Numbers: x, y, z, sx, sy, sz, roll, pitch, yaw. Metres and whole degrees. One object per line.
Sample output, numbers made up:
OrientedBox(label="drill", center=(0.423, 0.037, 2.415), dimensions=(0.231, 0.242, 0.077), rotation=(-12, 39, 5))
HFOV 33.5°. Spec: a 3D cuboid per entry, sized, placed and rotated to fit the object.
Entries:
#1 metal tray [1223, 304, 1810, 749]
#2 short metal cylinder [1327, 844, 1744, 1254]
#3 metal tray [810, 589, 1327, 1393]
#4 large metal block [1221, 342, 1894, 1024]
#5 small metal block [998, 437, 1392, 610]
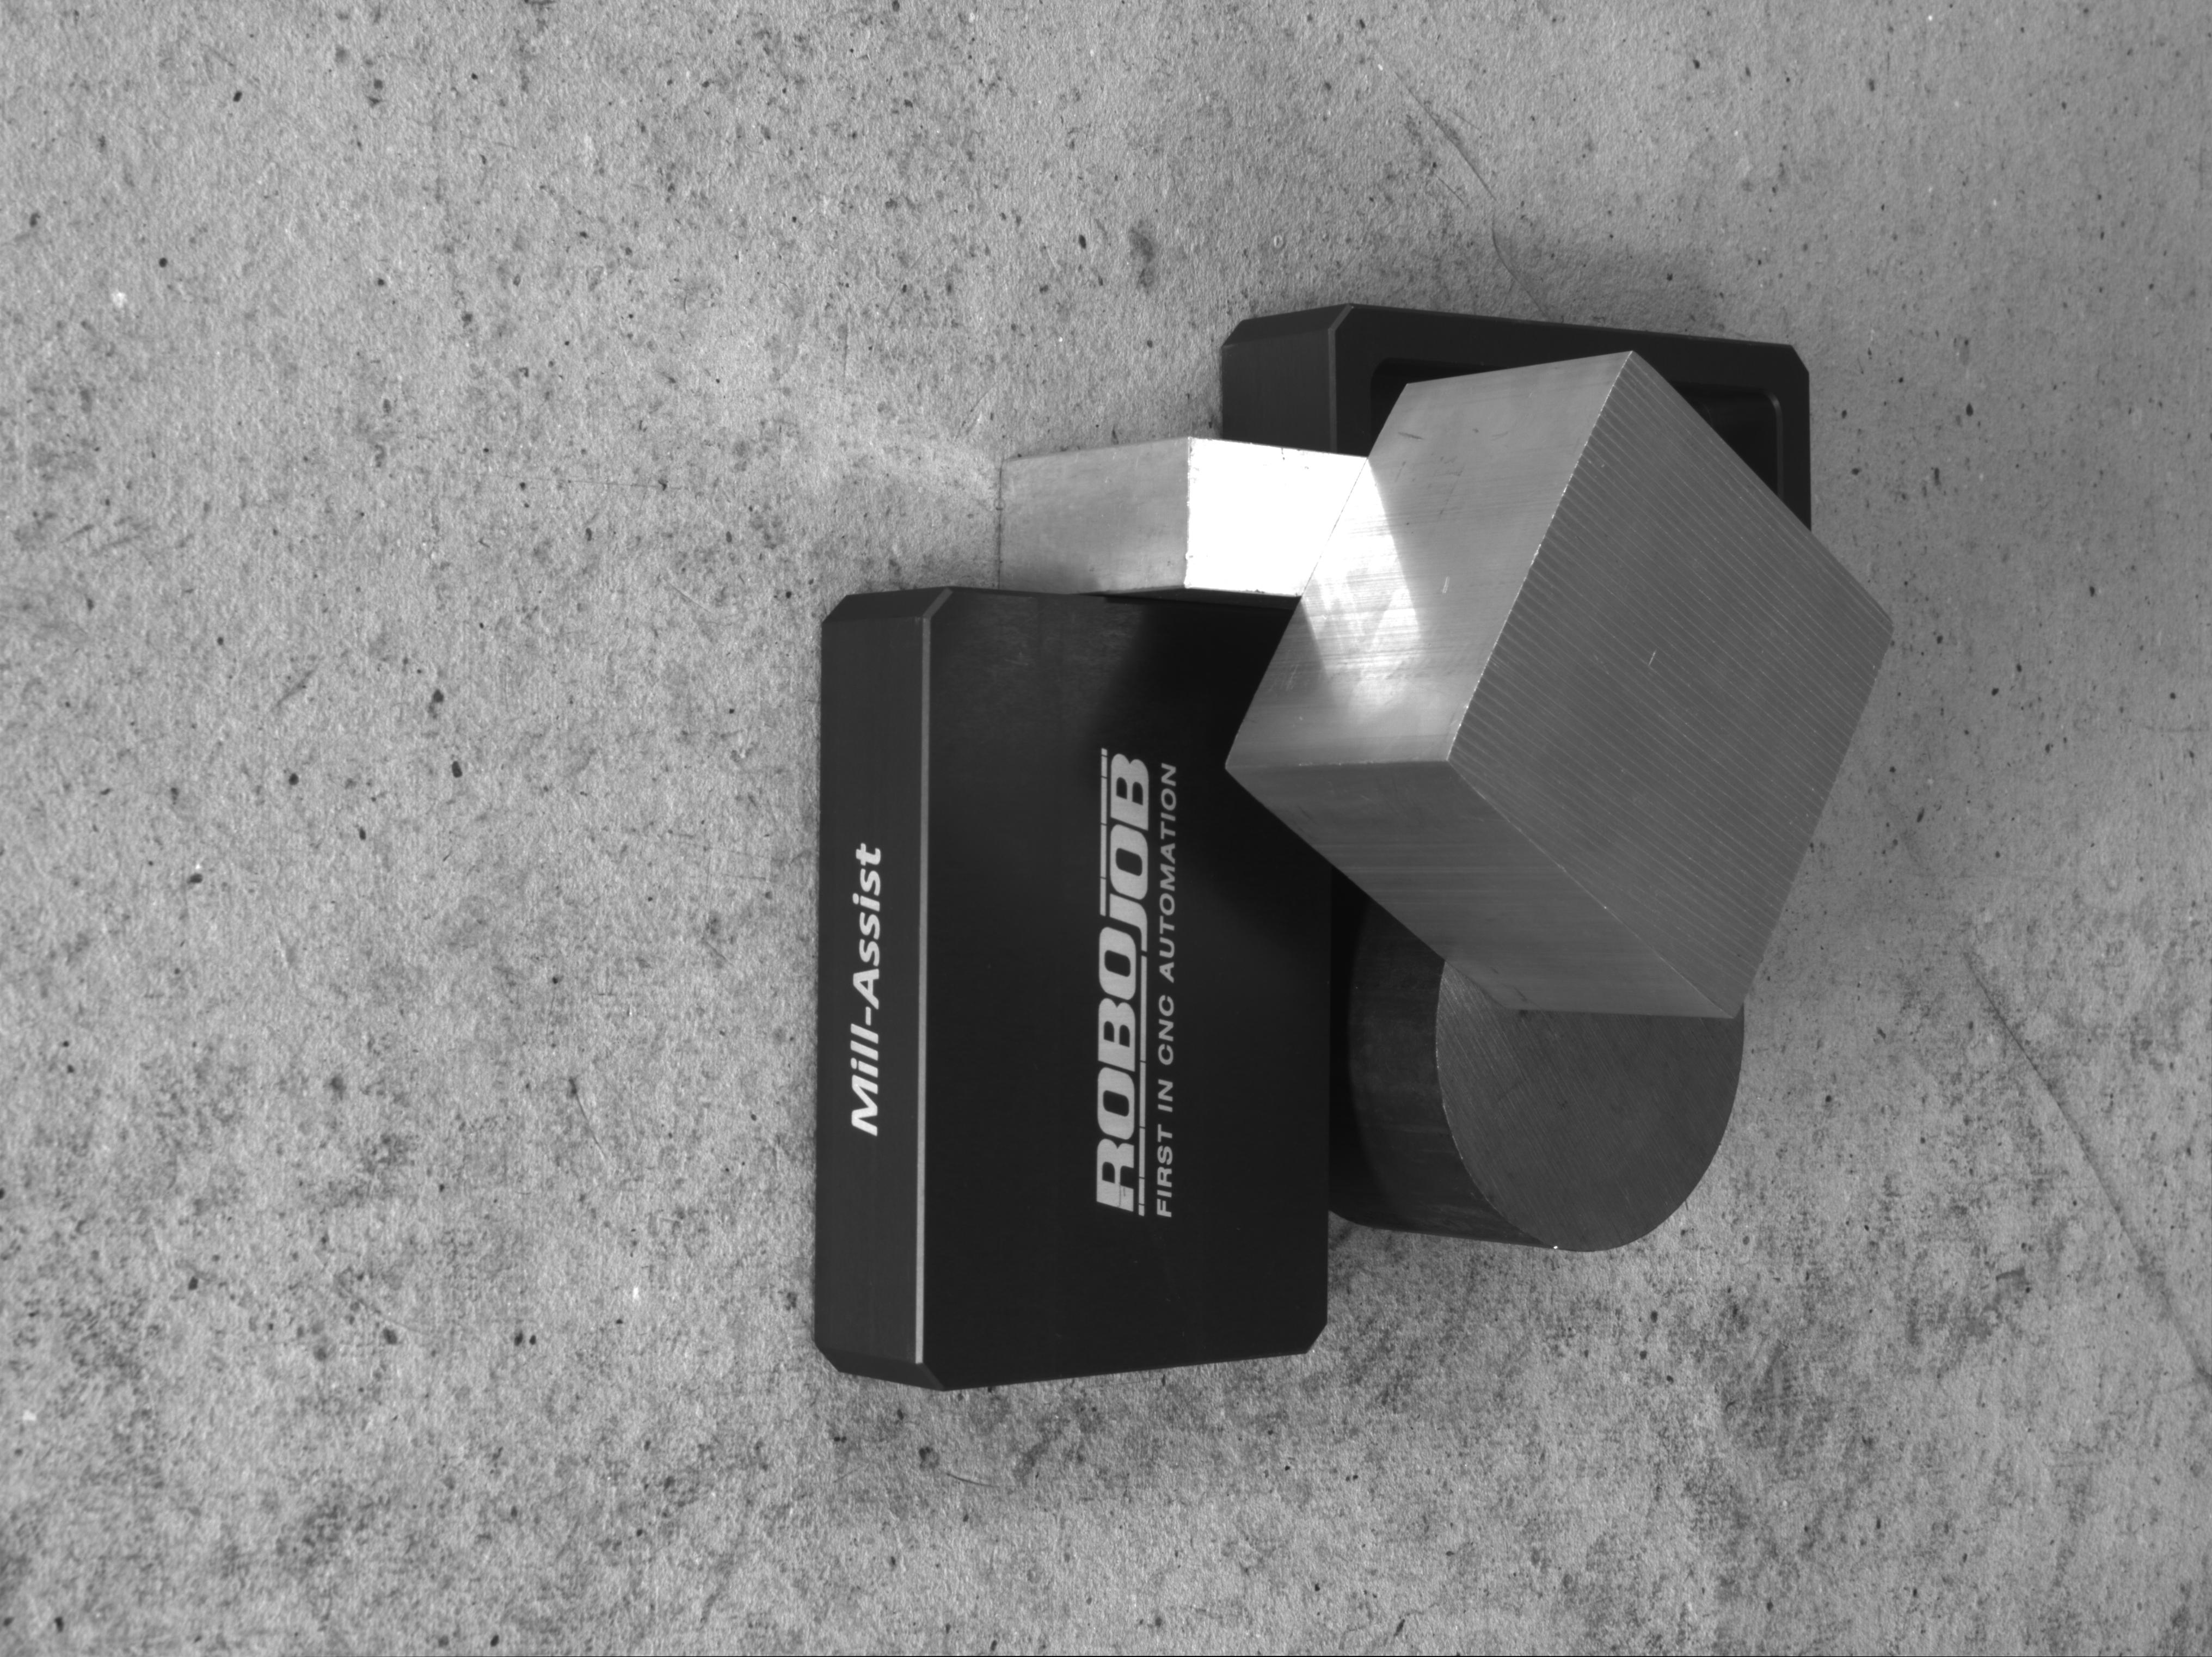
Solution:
OrientedBox(label="metal tray", center=(0.081, -0.049, 0.701), dimensions=(0.130, 0.030, 0.090), rotation=(-2, 91, -40))
OrientedBox(label="short metal cylinder", center=(0.072, 0.036, 0.680), dimensions=(0.080, 0.050, 0.080), rotation=(0, 90, -39))
OrientedBox(label="metal tray", center=(-0.005, 0.027, 0.630), dimensions=(0.090, 0.030, 0.130), rotation=(1, 89, -39))
OrientedBox(label="large metal block", center=(0.077, -0.023, 0.618), dimensions=(0.080, 0.050, 0.080), rotation=(40, 66, -32))
OrientedBox(label="small metal block", center=(0.016, -0.051, 0.634), dimensions=(0.050, 0.050, 0.025), rotation=(1, 89, -40))
